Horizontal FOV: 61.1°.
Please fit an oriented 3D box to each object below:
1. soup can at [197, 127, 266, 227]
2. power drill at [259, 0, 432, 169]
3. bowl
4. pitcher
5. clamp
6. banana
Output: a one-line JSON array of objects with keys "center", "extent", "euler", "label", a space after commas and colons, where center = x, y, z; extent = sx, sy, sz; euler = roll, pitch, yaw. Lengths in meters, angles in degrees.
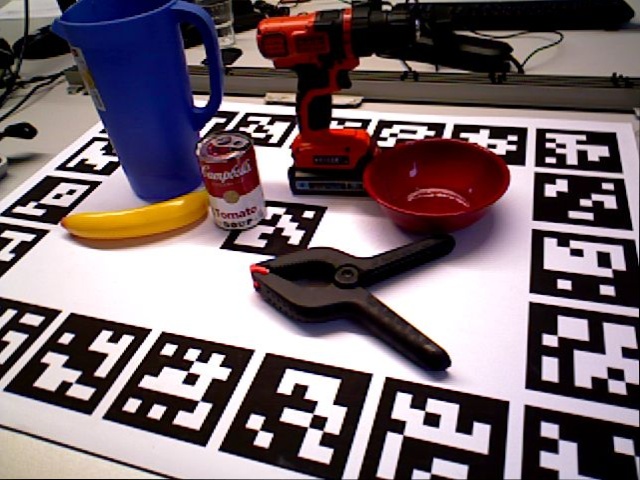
[{"center": [-0.101, -0.075, 0.630], "extent": [0.068, 0.104, 0.067], "euler": [-4, 32, 2], "label": "soup can"}, {"center": [0.031, -0.174, 0.622], "extent": [0.185, 0.191, 0.056], "euler": [3, 42, 13], "label": "power drill"}, {"center": [0.128, -0.062, 0.604], "extent": [0.161, 0.056, 0.159], "euler": [-6, 42, 5], "label": "bowl"}, {"center": [-0.207, -0.181, 0.662], "extent": [0.188, 0.247, 0.131], "euler": [-10, 37, -2], "label": "pitcher"}, {"center": [0.029, 0.036, 0.515], "extent": [0.203, 0.037, 0.162], "euler": [4, 46, 15], "label": "clamp"}, {"center": [-0.230, -0.029, 0.654], "extent": [0.196, 0.039, 0.073], "euler": [-10, 32, -3], "label": "banana"}]
